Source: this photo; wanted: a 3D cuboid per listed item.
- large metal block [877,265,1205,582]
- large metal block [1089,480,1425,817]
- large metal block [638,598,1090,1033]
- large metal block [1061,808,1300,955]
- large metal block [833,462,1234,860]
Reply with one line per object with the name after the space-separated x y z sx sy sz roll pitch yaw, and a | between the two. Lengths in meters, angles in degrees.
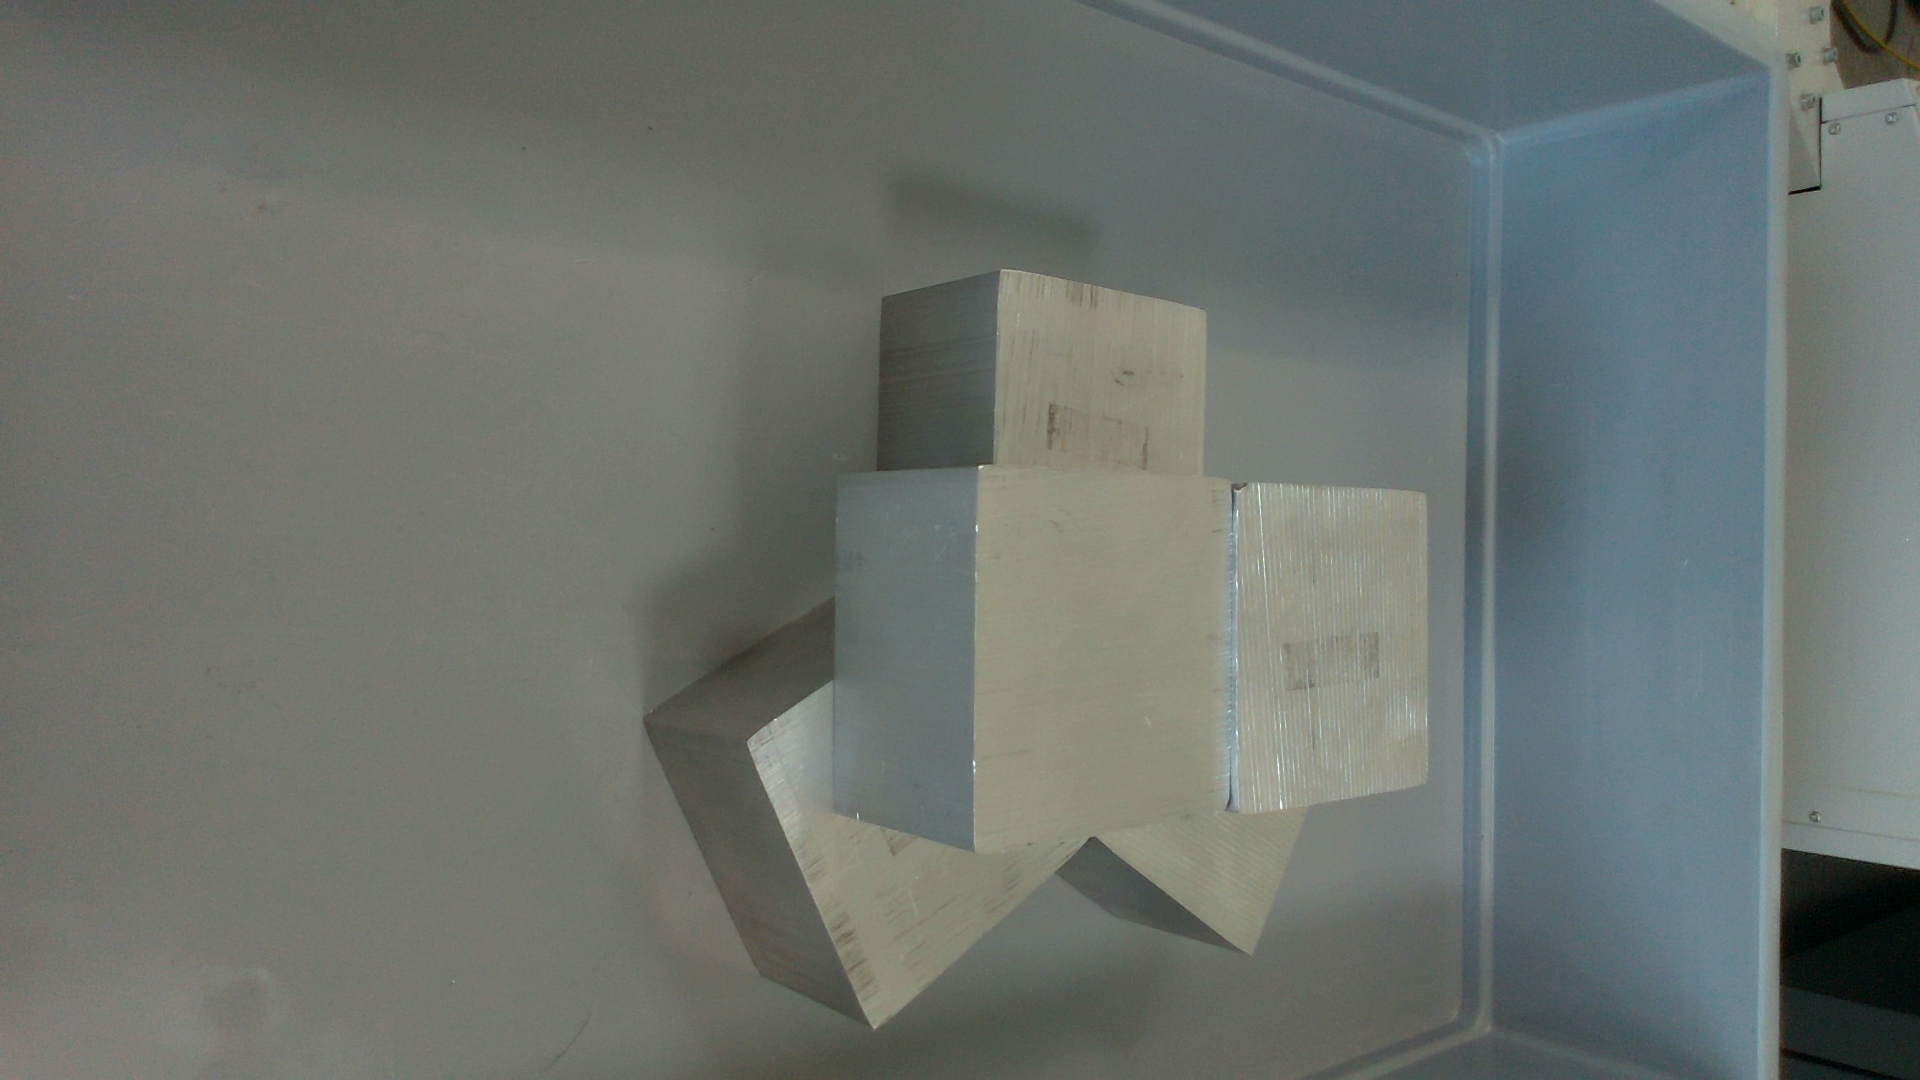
0.023 -0.028 0.391 0.080 0.050 0.080 2 89 -40 | large metal block
0.081 0.026 0.372 0.080 0.050 0.080 1 89 -40 | large metal block
-0.022 0.062 0.353 0.080 0.050 0.080 -33 110 -35 | large metal block
0.060 0.067 0.420 0.080 0.050 0.080 41 65 -32 | large metal block
0.018 0.025 0.321 0.080 0.050 0.080 1 89 -40 | large metal block
